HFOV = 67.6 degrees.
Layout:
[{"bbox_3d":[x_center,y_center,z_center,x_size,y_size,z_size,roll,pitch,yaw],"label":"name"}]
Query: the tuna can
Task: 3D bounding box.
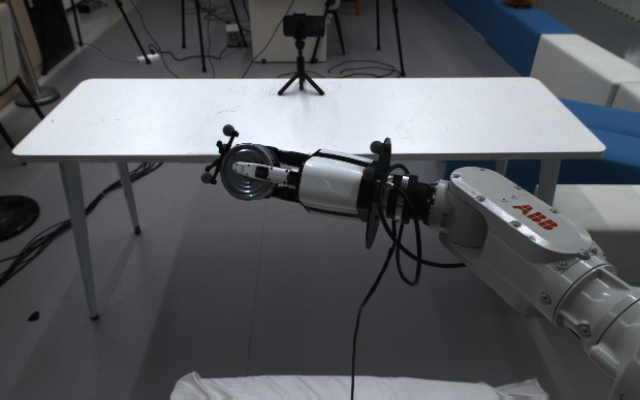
[{"bbox_3d":[-0.101,-0.039,0.718,0.085,0.085,0.034,9,6,10],"label":"tuna can"}]
